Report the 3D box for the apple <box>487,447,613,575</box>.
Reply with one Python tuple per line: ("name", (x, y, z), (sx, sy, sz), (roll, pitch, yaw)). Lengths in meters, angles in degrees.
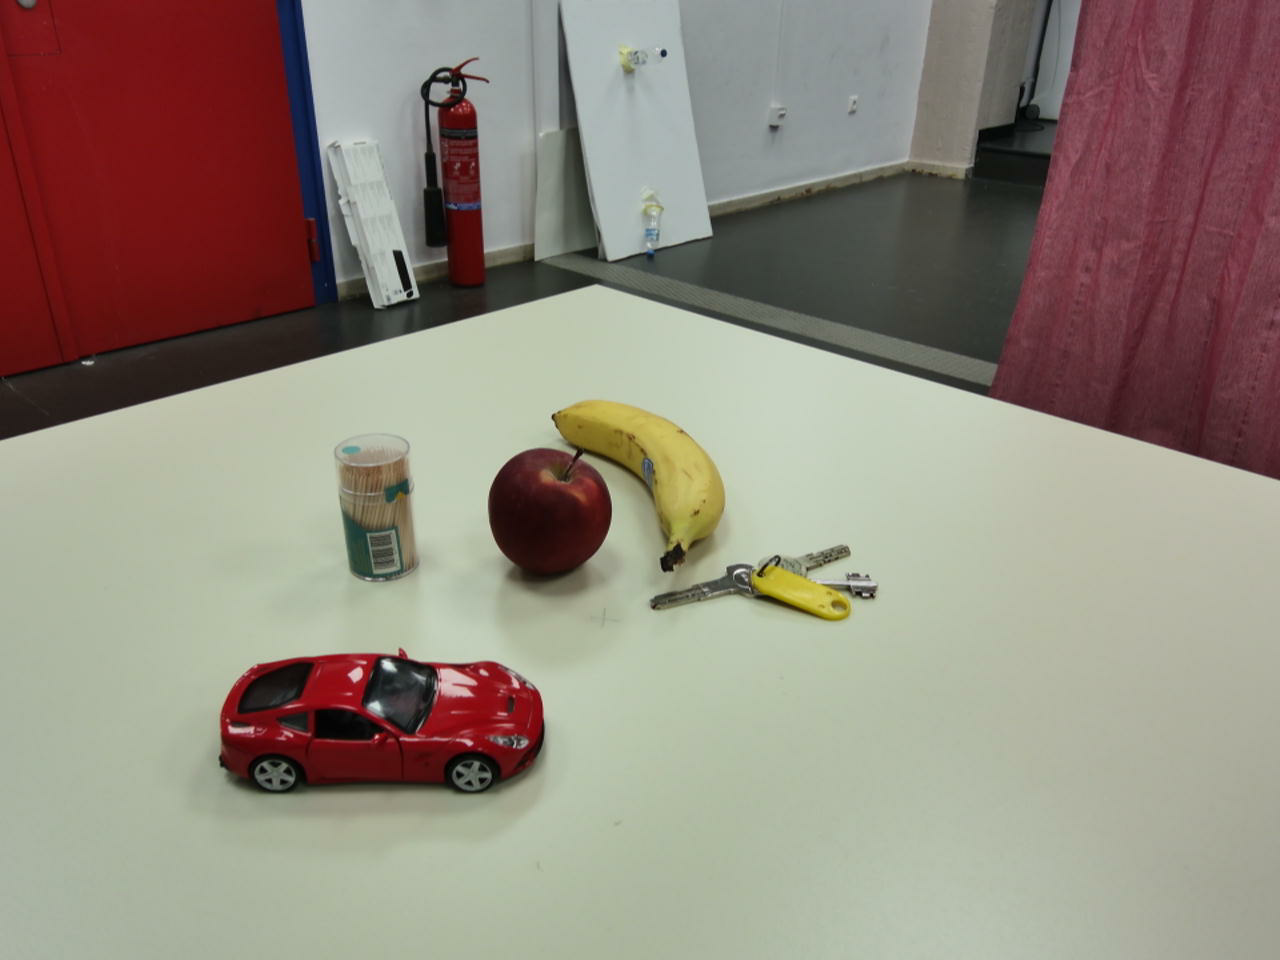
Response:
("apple", (-0.051, 0.017, 0.565), (0.070, 0.072, 0.070), (1, 25, 0))
